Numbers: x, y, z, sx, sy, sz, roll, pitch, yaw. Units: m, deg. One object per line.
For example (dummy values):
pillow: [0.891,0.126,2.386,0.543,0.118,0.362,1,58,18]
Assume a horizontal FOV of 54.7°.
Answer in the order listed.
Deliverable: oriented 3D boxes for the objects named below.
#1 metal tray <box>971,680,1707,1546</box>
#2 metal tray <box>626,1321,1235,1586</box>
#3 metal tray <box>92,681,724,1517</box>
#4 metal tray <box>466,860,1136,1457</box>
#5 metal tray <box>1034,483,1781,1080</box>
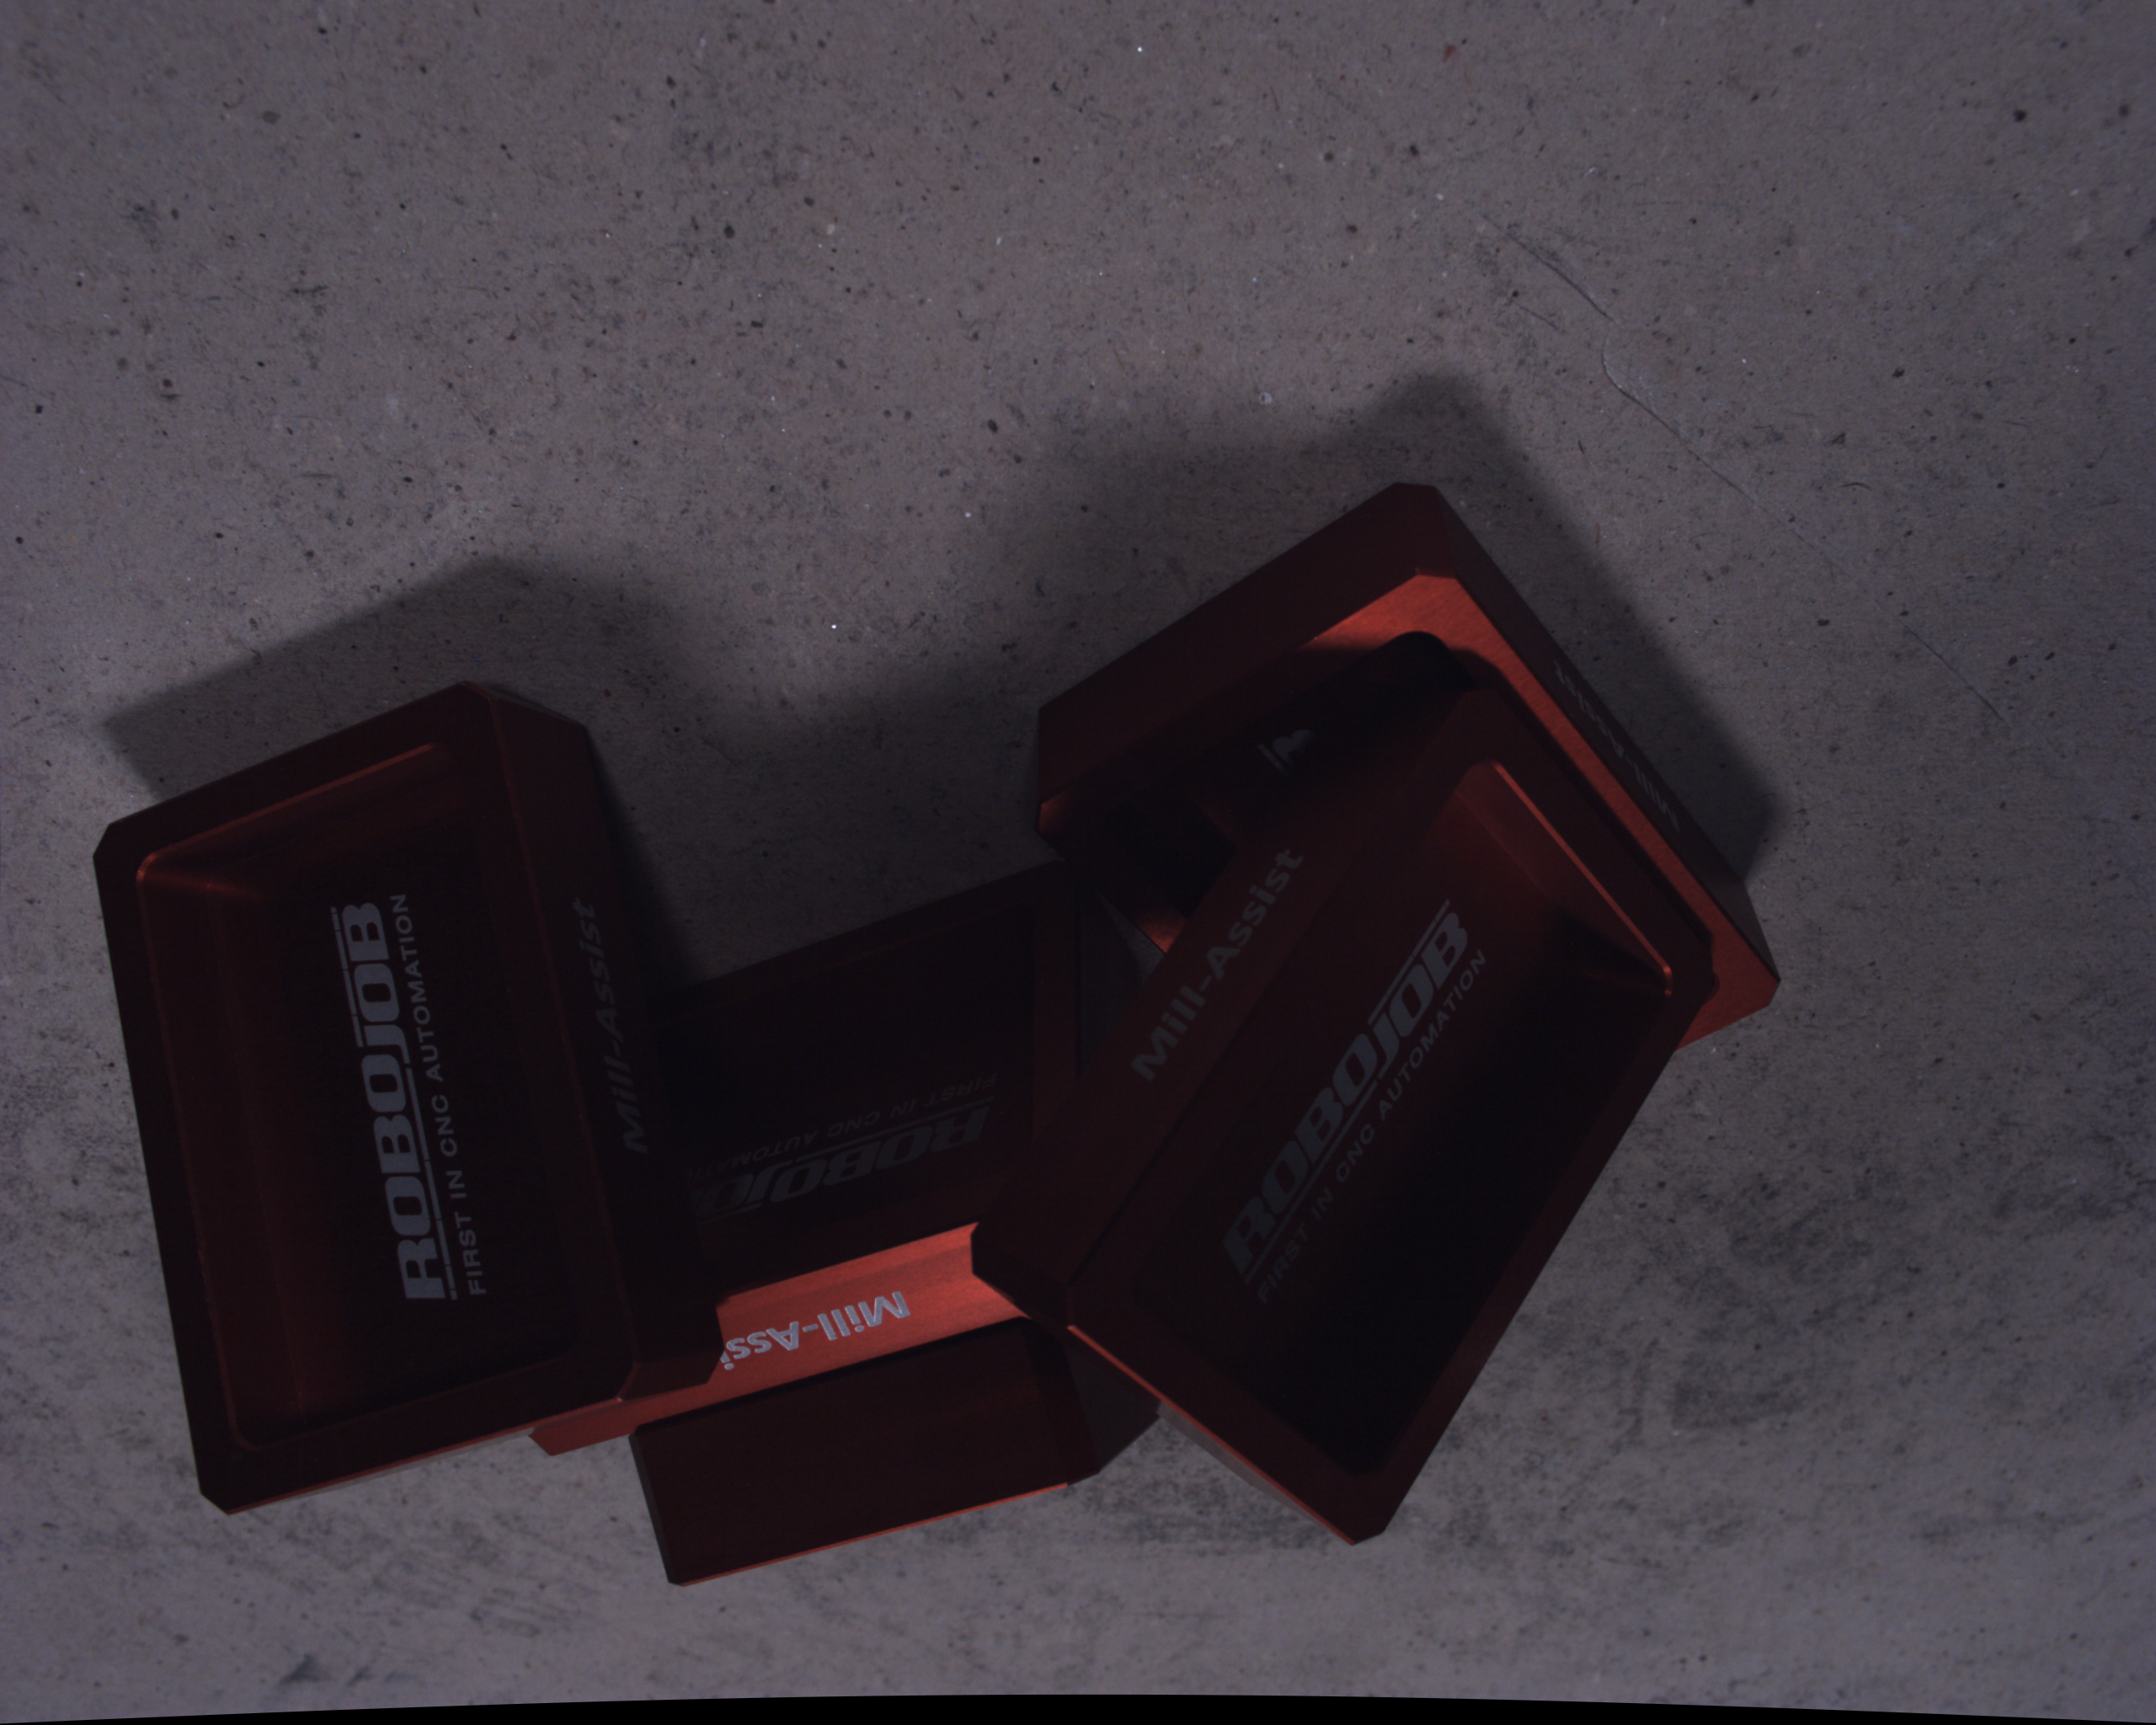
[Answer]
metal tray: [0.051,0.043,0.373,0.090,0.030,0.130,45,72,-31]
metal tray: [-0.024,0.112,0.447,0.090,0.030,0.130,-19,173,15]
metal tray: [-0.124,0.043,0.381,0.090,0.129,0.030,-19,166,15]
metal tray: [-0.053,0.057,0.414,0.130,0.090,0.030,-19,128,15]
metal tray: [0.065,-0.001,0.406,0.090,0.030,0.130,-31,124,23]
